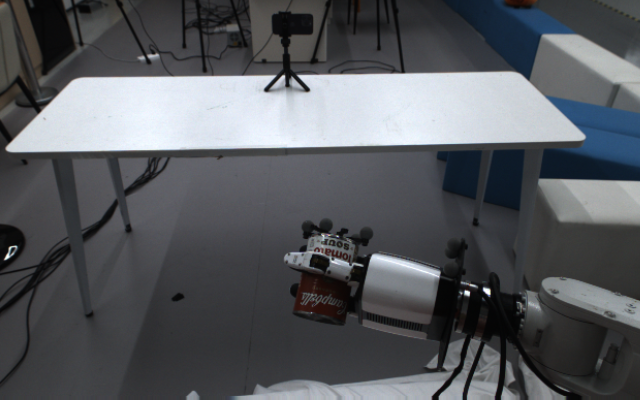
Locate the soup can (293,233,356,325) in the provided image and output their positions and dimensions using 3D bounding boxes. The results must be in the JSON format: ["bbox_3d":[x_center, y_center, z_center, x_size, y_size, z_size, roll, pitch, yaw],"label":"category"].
[{"bbox_3d":[0.010,0.100,0.609,0.067,0.067,0.101,9,71,9],"label":"soup can"}]
